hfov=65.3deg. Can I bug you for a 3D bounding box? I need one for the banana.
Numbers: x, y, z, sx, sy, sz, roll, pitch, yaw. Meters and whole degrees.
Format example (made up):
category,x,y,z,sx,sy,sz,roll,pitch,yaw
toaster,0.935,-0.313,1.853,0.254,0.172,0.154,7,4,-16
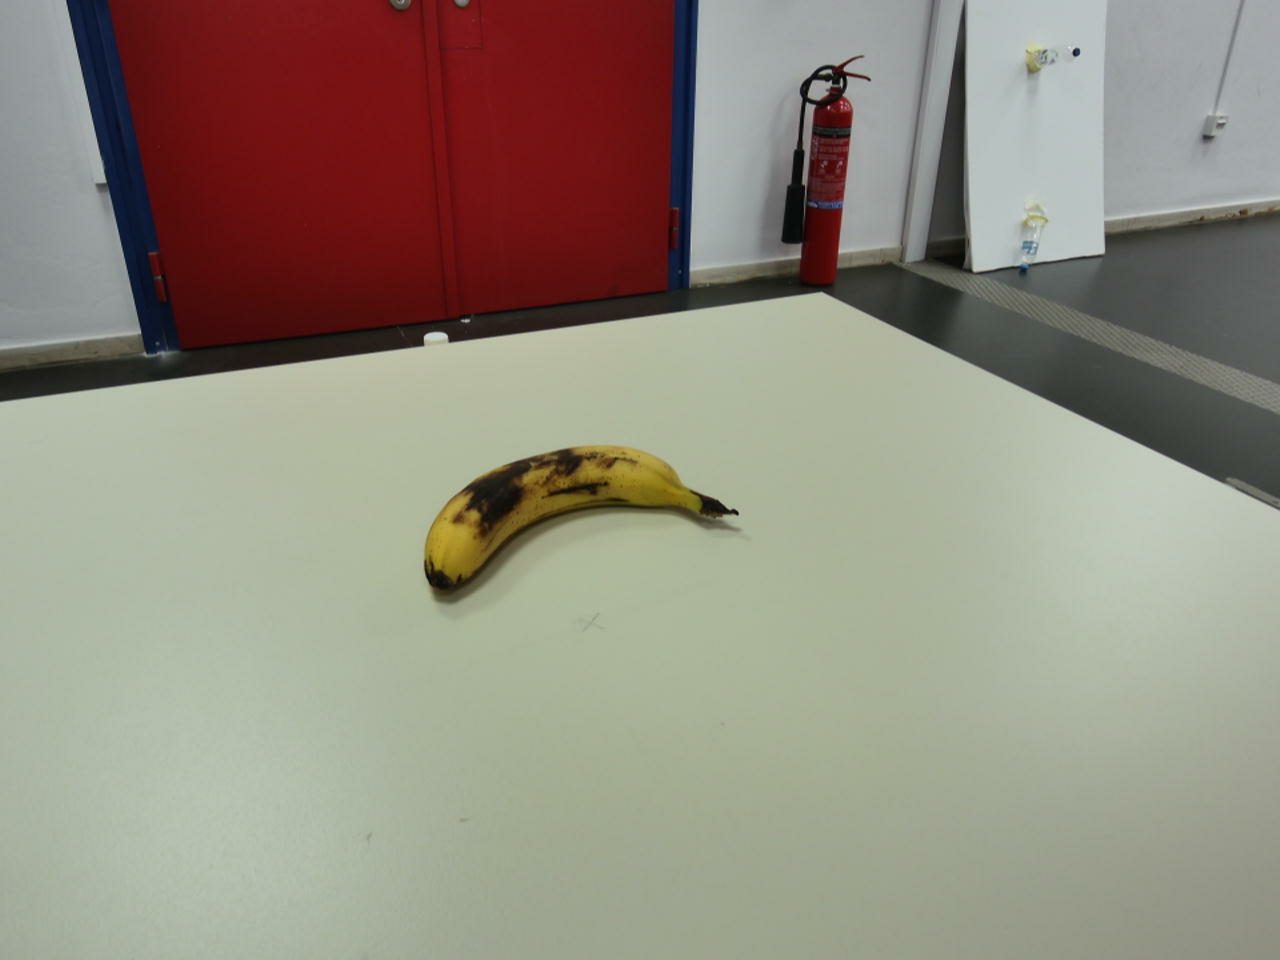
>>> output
category,x,y,z,sx,sy,sz,roll,pitch,yaw
banana,-0.046,0.014,0.595,0.187,0.039,0.094,-12,29,-24
